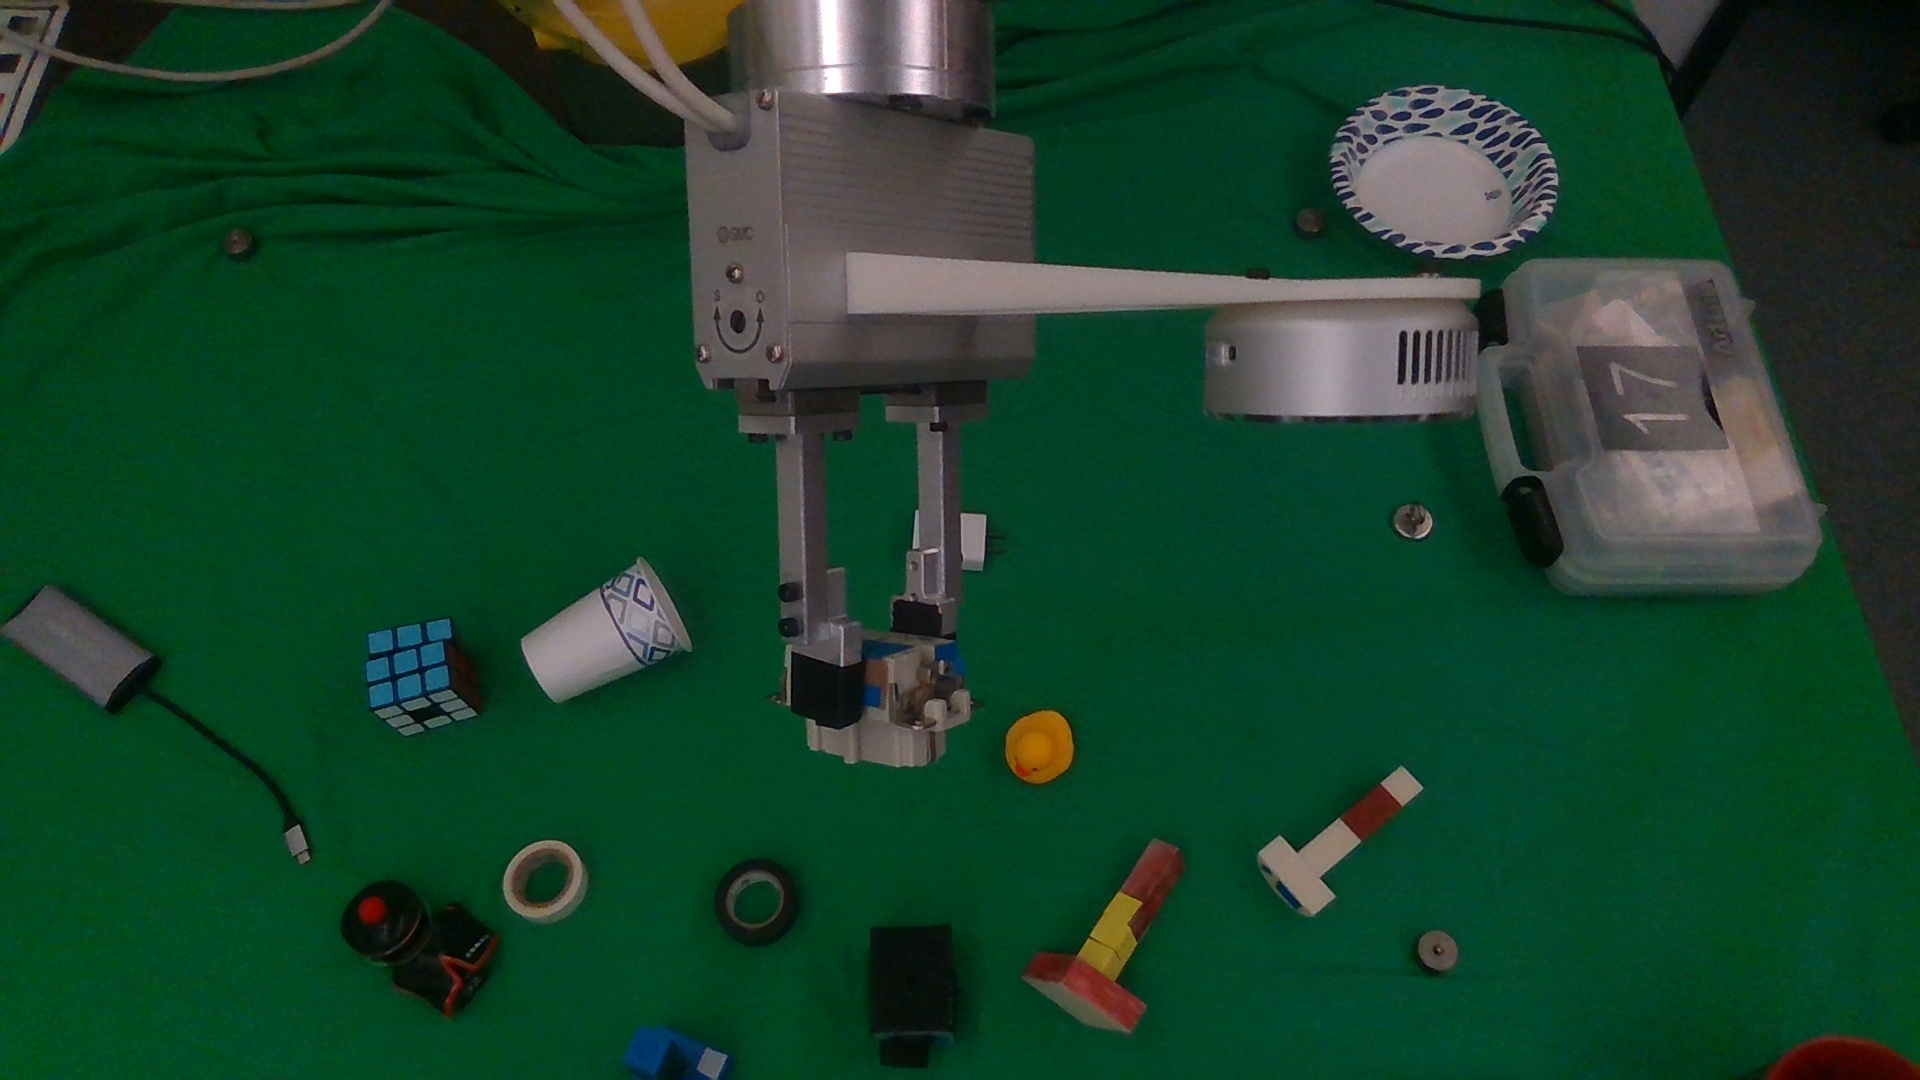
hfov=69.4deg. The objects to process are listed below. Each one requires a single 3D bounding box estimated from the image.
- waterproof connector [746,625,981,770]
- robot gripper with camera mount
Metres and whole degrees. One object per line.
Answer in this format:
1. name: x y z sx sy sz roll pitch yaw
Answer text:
1. waterproof connector: -0.029 0.046 0.409 0.065 0.034 0.037 5 98 33
2. robot gripper with camera mount: 0.040 -0.023 0.353 0.194 0.118 0.158 5 99 36
